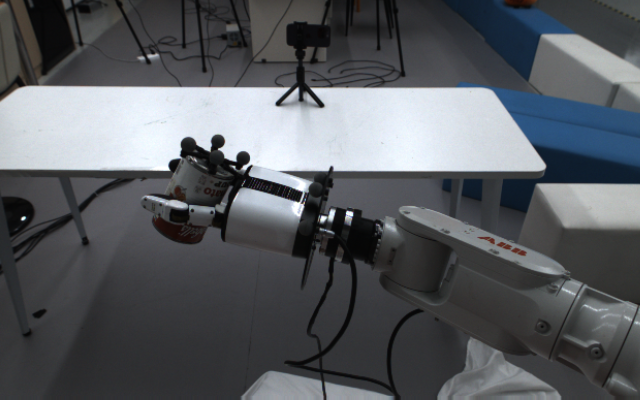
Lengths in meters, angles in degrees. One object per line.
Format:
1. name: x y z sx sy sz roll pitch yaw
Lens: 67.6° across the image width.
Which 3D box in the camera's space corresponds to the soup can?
1. soup can: -0.156 -0.004 0.600 0.067 0.101 0.067 28 18 -10
